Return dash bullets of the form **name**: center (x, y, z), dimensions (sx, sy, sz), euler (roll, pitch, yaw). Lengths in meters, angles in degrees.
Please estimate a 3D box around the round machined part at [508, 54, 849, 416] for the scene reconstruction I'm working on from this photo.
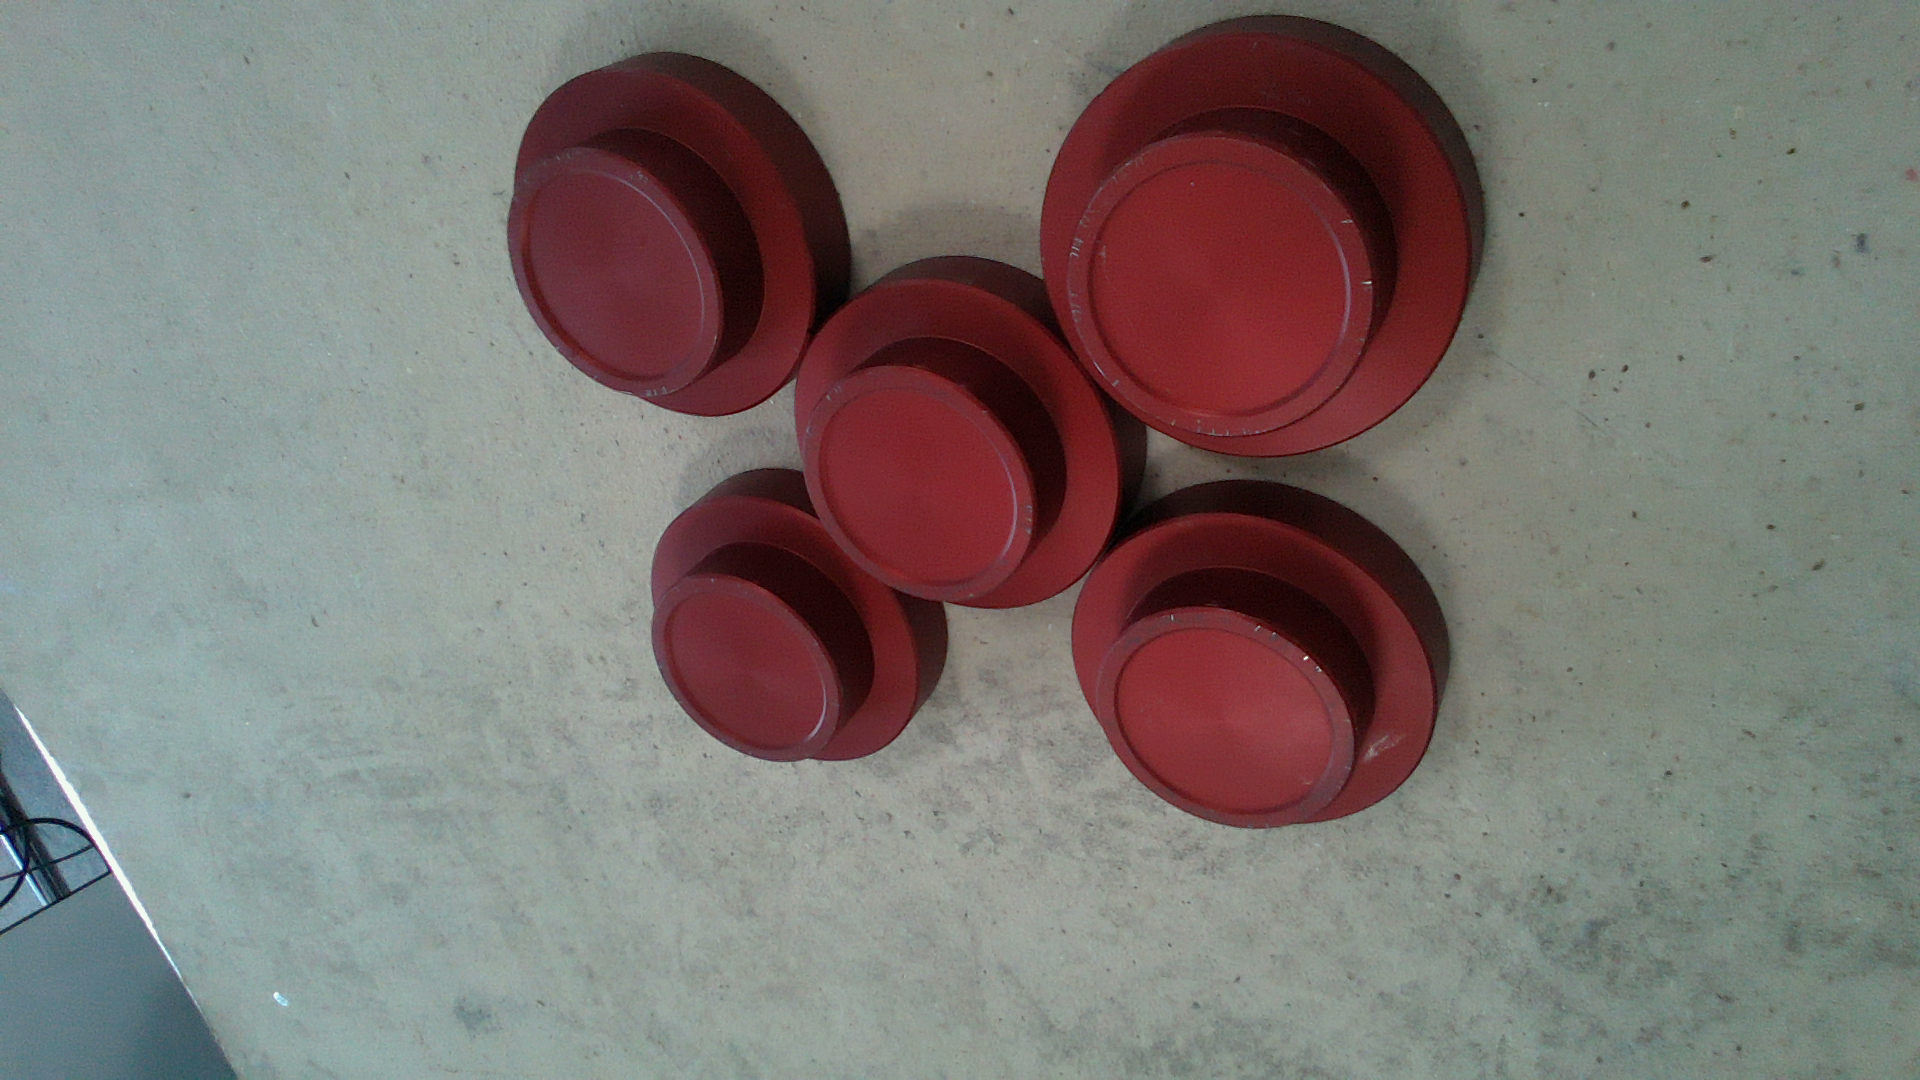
- **round machined part**: center (-0.083, -0.079, 0.378), dimensions (0.098, 0.042, 0.098), euler (13, 124, 21)

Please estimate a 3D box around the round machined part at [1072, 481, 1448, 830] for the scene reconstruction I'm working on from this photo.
- **round machined part**: center (0.075, 0.037, 0.365), dimensions (0.098, 0.042, 0.098), euler (14, 126, 21)

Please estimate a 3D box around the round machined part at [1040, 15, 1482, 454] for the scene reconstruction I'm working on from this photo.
- **round machined part**: center (0.063, -0.062, 0.309), dimensions (0.098, 0.042, 0.098), euler (14, 126, 21)

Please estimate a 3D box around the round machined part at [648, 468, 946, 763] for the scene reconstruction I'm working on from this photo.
- **round machined part**: center (-0.057, 0.030, 0.431), dimensions (0.098, 0.042, 0.098), euler (13, 125, 20)

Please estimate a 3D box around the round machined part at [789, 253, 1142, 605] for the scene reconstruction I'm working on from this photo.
- **round machined part**: center (-0.004, -0.023, 0.370), dimensions (0.098, 0.042, 0.098), euler (14, 126, 21)
